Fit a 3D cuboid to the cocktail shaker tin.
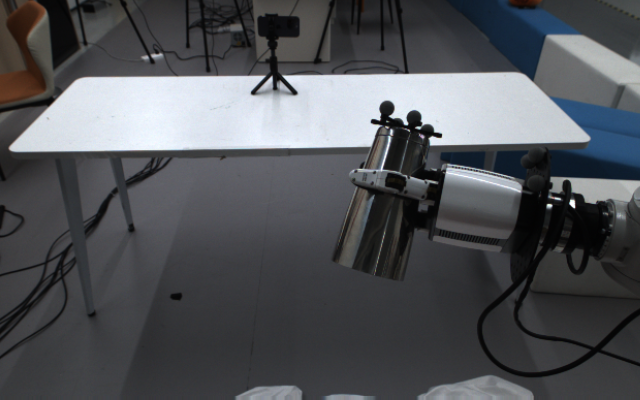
[{"bbox_3d":[0.081,0.002,0.586,0.093,0.170,0.093,16,-2,1],"label":"cocktail shaker tin"}]
